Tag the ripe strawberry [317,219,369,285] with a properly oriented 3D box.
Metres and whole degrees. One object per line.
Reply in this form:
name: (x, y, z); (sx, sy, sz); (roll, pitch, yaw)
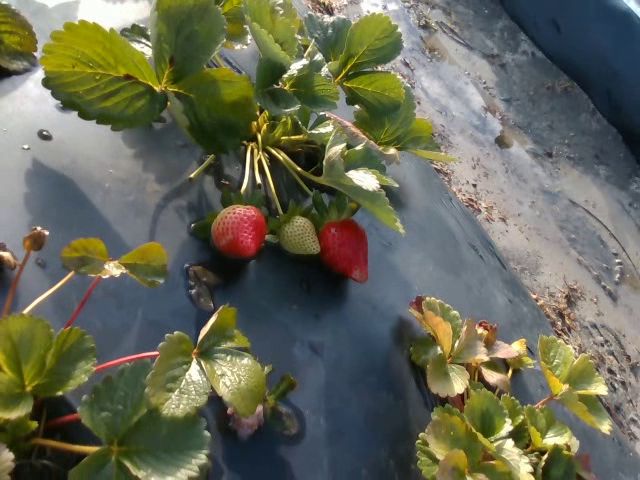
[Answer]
ripe strawberry: (0.023, 0.011, 0.502); (0.048, 0.065, 0.050); (-20, -19, 0)
